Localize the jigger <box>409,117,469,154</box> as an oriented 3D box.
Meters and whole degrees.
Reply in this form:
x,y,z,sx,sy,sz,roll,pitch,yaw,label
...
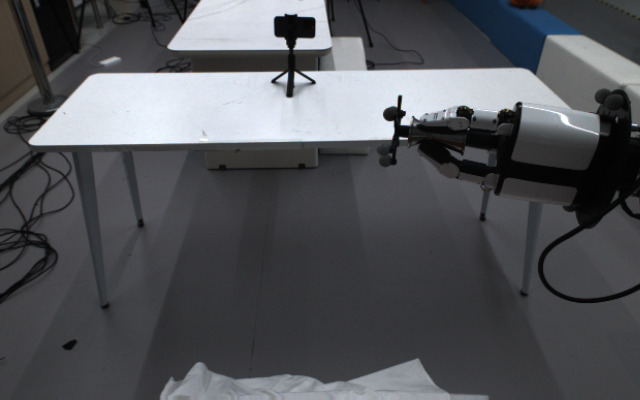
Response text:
x,y,z,sx,sy,sz,roll,pitch,yaw,label
0.153,-0.085,0.604,0.071,0.043,0.043,8,35,13,jigger
